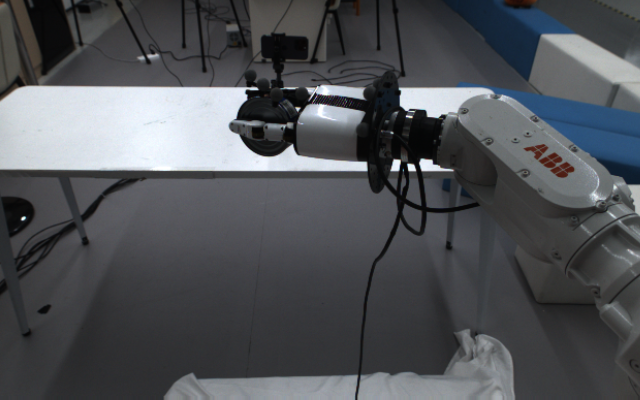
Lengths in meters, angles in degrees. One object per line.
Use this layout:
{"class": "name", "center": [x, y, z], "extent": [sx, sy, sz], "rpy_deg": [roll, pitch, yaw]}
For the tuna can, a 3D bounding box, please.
{"class": "tuna can", "center": [-0.071, -0.106, 0.681], "extent": [0.085, 0.085, 0.034], "rpy_deg": [16, 28, 19]}
